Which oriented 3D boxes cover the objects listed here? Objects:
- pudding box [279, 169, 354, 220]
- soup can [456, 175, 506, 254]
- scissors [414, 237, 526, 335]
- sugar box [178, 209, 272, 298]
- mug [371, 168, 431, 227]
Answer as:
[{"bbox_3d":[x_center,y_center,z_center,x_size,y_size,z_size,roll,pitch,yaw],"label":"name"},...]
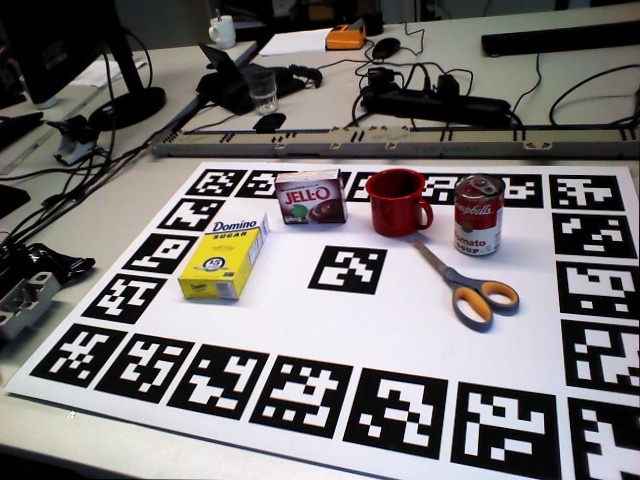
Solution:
[{"bbox_3d":[-0.004,-0.081,0.872,0.114,0.090,0.038,-3,46,12],"label":"pudding box"},{"bbox_3d":[0.236,-0.039,0.758,0.068,0.102,0.067,-9,37,6],"label":"soup can"},{"bbox_3d":[0.193,0.047,0.720,0.087,0.016,0.203,-31,42,-7],"label":"scissors"},{"bbox_3d":[-0.149,0.017,0.842,0.093,0.045,0.175,0,42,19],"label":"sugar box"},{"bbox_3d":[0.138,-0.068,0.827,0.093,0.081,0.117,-22,38,-7],"label":"mug"}]
